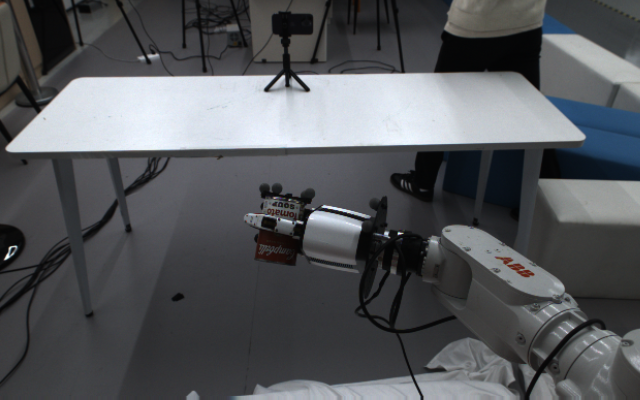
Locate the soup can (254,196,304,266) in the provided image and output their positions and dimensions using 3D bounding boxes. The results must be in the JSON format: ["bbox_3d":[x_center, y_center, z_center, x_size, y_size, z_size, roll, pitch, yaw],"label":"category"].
[{"bbox_3d":[-0.064,0.050,0.770,0.067,0.101,0.067,9,-6,1],"label":"soup can"}]
